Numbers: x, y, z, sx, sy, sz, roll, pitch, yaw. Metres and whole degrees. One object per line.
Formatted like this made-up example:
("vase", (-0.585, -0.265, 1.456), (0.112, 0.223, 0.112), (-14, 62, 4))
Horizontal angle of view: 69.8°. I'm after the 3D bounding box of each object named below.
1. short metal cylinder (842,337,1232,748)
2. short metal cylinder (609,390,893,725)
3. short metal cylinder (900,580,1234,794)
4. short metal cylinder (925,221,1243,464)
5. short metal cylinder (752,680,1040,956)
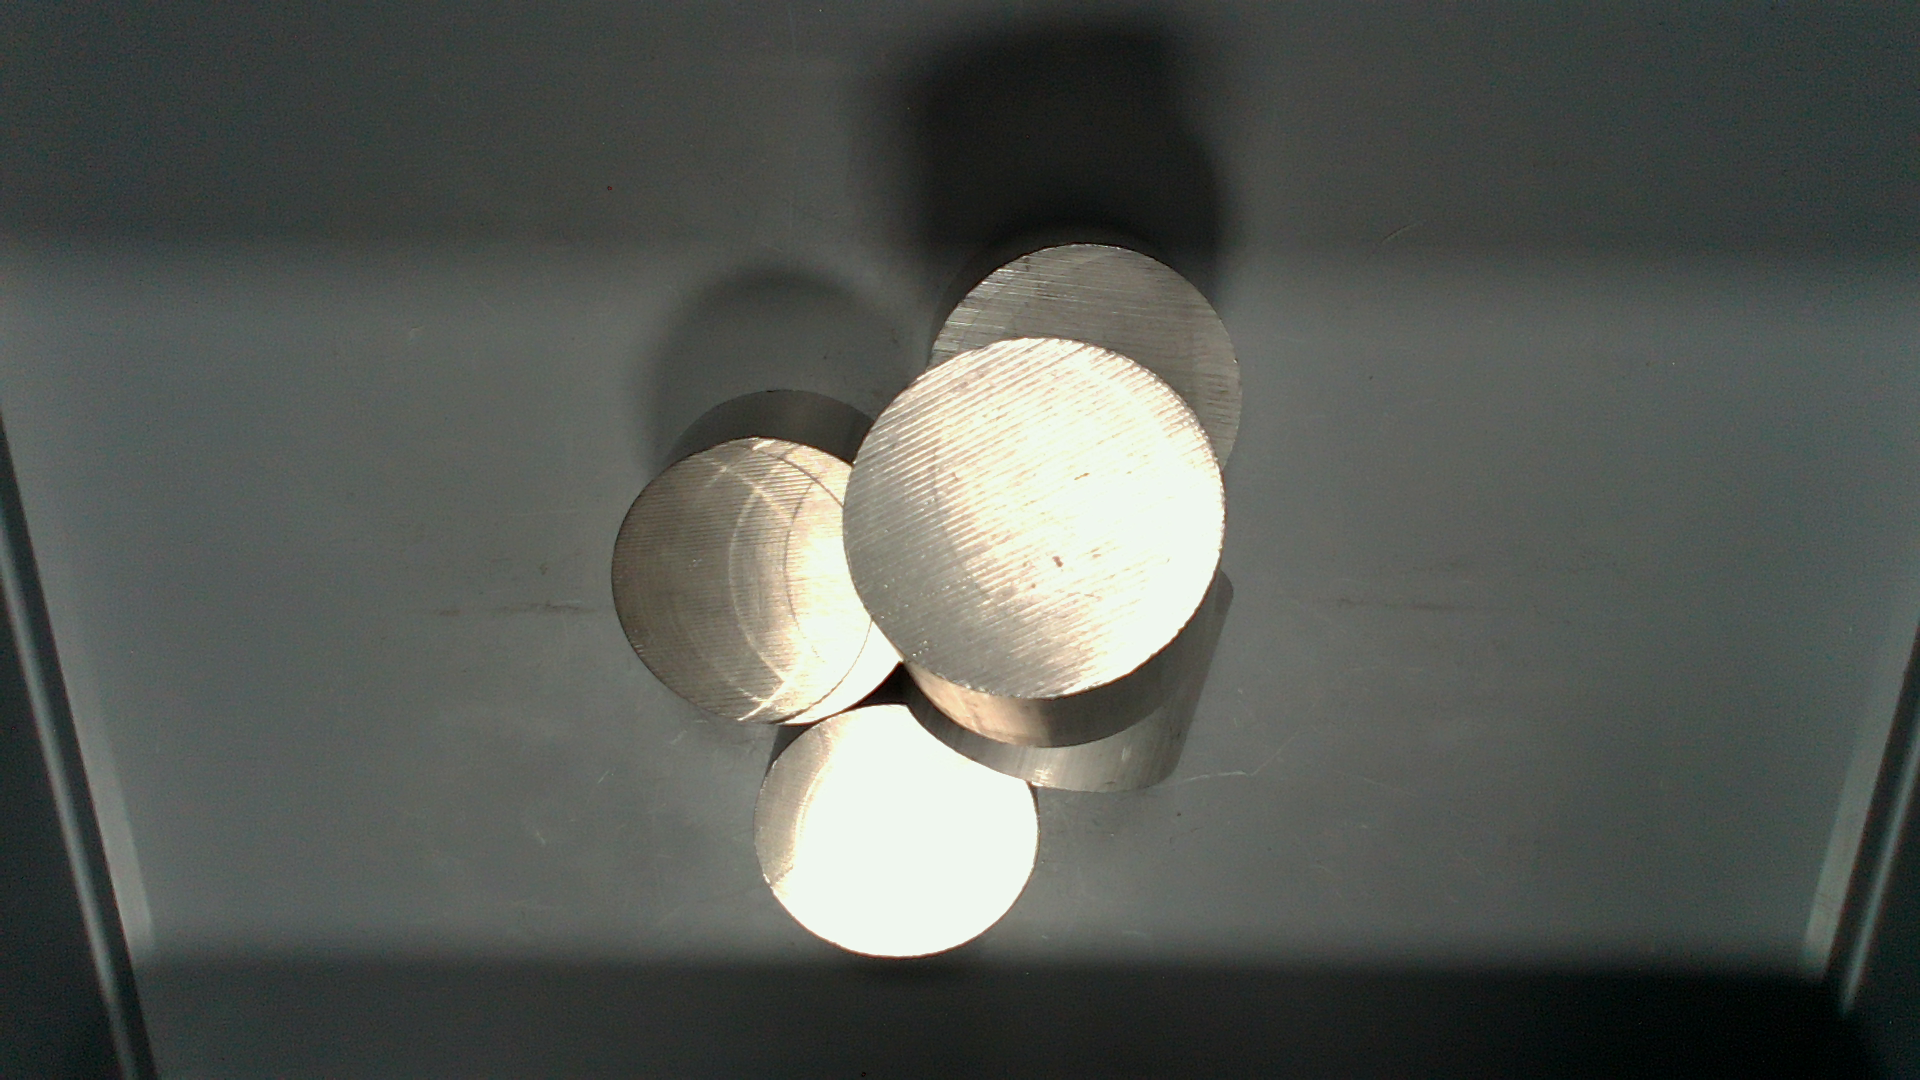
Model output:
("short metal cylinder", (0.018, 0.002, 0.306), (0.080, 0.050, 0.080), (-2, 70, 7))
("short metal cylinder", (-0.051, 0.004, 0.380), (0.080, 0.050, 0.080), (0, 110, 0))
("short metal cylinder", (0.028, 0.025, 0.374), (0.080, 0.080, 0.050), (13, 110, -5))
("short metal cylinder", (0.030, -0.042, 0.364), (0.080, 0.050, 0.080), (0, 110, 0))
("short metal cylinder", (-0.018, 0.074, 0.406), (0.080, 0.050, 0.080), (0, 110, 0))
